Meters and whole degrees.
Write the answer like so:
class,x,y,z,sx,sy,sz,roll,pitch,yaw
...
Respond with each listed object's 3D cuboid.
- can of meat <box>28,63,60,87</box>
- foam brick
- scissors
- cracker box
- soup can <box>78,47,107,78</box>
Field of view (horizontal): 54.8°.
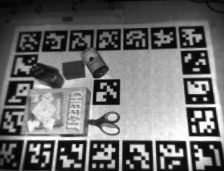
class,x,y,z,sx,sy,sz,roll,pitch,yaw
can of meat,-0.254,-0.034,0.806,0.101,0.084,0.058,12,74,9
foam brick,-0.156,-0.061,0.826,0.078,0.051,0.052,-11,72,2
scissors,-0.086,0.136,0.762,0.202,0.016,0.087,-6,72,3
cracker box,-0.204,0.096,0.752,0.213,0.072,0.163,-7,71,7
soup can,-0.075,-0.089,0.827,0.068,0.068,0.101,-37,67,-6
